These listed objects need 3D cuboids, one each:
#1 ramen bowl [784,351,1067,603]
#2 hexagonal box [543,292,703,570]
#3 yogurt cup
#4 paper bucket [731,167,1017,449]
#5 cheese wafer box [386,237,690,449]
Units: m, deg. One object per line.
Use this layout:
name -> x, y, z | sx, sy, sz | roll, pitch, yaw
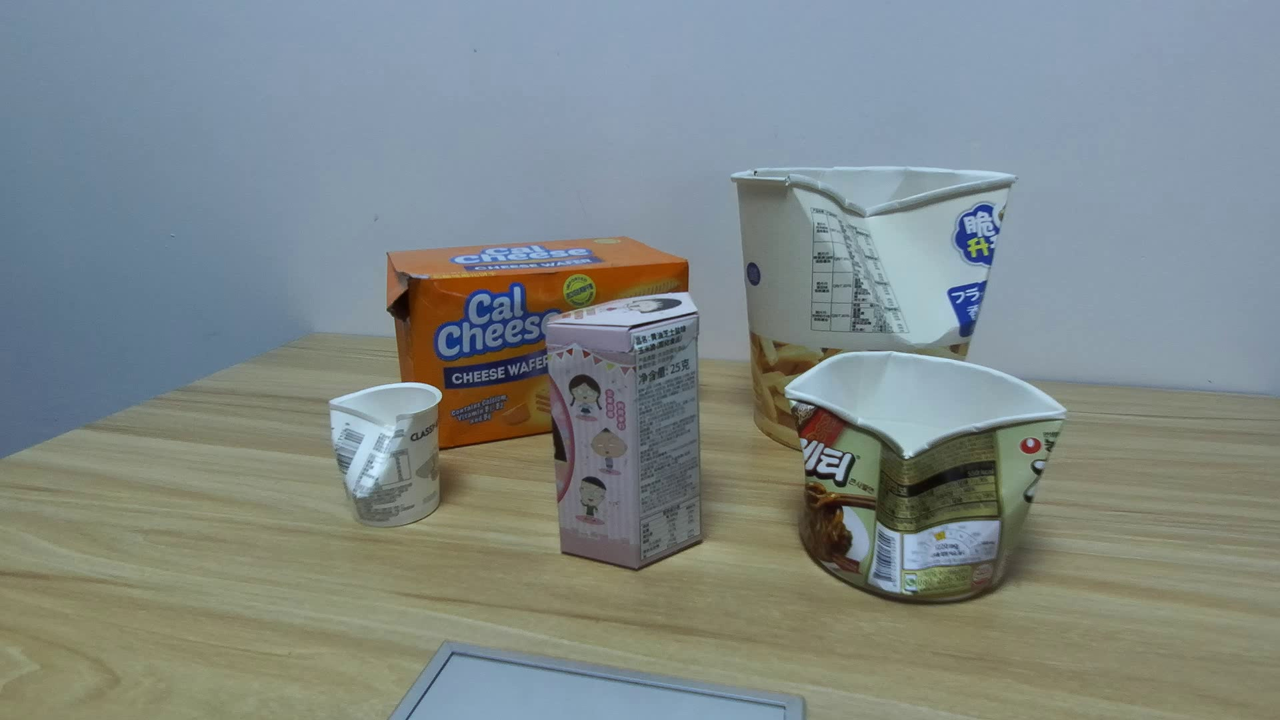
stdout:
ramen bowl -> 0.152, 0.057, 0.392 | 0.137, 0.098, 0.137 | 2, 17, 0
hexagonal box -> -0.005, 0.035, 0.397 | 0.085, 0.135, 0.092 | -2, 19, -4
yogurt cup -> -0.151, 0.057, 0.433 | 0.067, 0.070, 0.067 | -2, 18, 1
paper bucket -> 0.156, -0.040, 0.531 | 0.163, 0.202, 0.168 | -18, 23, -40
cheese wafer box -> -0.089, -0.027, 0.593 | 0.228, 0.137, 0.149 | -7, 19, -21
